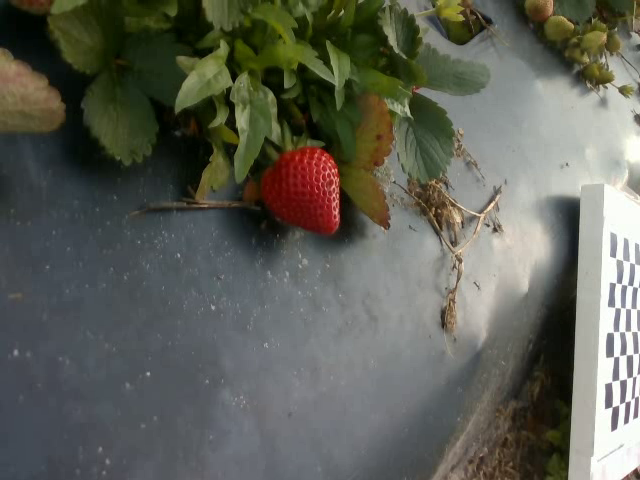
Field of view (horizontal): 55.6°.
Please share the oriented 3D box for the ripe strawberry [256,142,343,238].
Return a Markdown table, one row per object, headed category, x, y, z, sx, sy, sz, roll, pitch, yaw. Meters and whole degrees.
| category | x | y | z | sx | sy | sz | roll | pitch | yaw |
| --- | --- | --- | --- | --- | --- | --- | --- | --- | --- |
| ripe strawberry | -0.008 | -0.021 | 0.293 | 0.043 | 0.051 | 0.042 | -15 | -18 | -49 |
